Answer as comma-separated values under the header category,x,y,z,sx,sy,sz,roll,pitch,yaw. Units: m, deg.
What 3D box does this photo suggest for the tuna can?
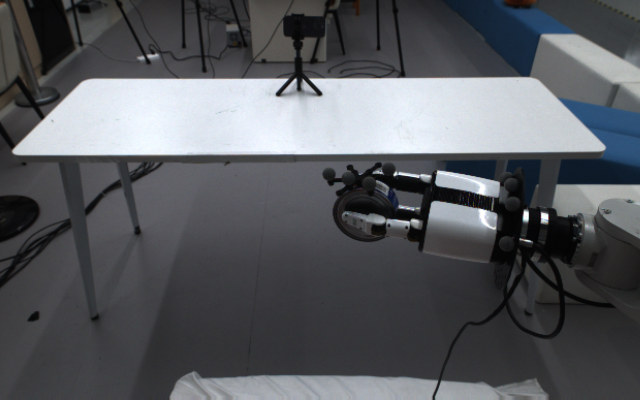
category,x,y,z,sx,sy,sz,roll,pitch,yaw
tuna can,0.064,0.012,0.655,0.085,0.085,0.034,10,33,11
